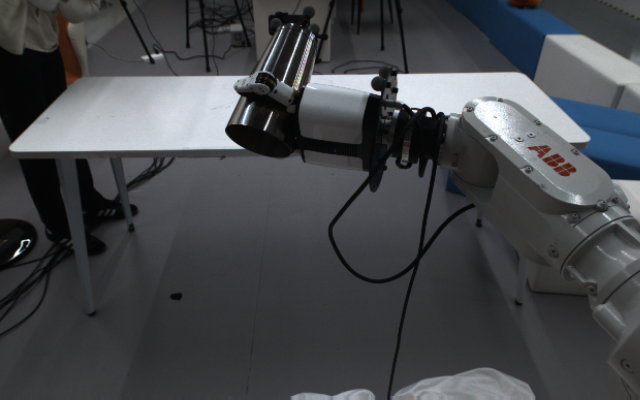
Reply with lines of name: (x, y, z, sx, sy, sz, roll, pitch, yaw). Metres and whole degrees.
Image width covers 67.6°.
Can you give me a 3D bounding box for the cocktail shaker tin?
cocktail shaker tin: (-0.060, -0.155, 0.666, 0.093, 0.093, 0.170, 14, 72, 16)
